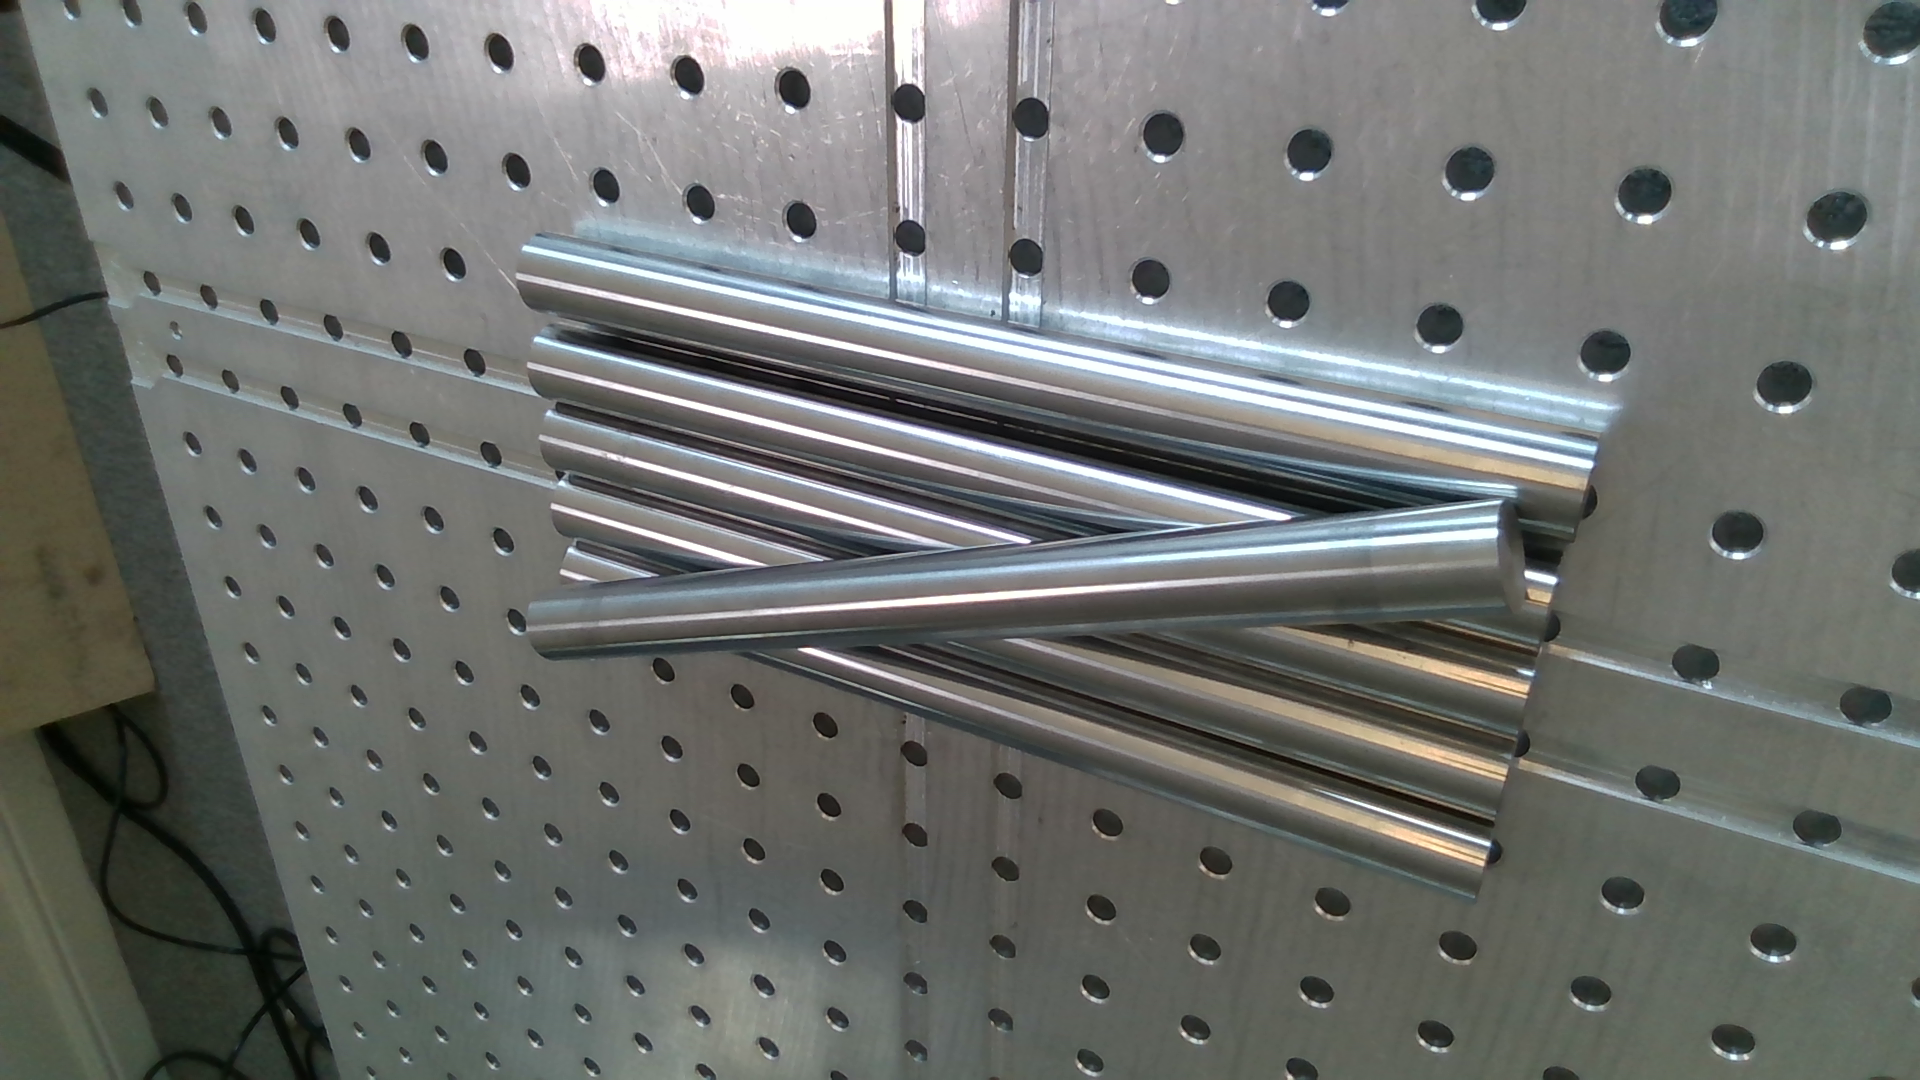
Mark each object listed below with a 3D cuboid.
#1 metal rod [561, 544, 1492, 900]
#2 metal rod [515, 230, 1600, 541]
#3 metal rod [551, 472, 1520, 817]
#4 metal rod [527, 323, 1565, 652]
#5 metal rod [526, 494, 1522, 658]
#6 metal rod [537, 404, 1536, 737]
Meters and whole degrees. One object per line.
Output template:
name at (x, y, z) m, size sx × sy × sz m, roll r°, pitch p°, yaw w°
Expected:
metal rod at (0.003, 0.044, 0.414) m, size 0.300 × 0.025 × 0.025 m, roll 15°, pitch 122°, yaw 24°
metal rod at (0.004, -0.047, 0.362) m, size 0.300 × 0.025 × 0.025 m, roll 15°, pitch 122°, yaw 24°
metal rod at (0.003, 0.021, 0.402) m, size 0.300 × 0.025 × 0.025 m, roll 15°, pitch 122°, yaw 24°
metal rod at (0.003, -0.022, 0.376) m, size 0.300 × 0.025 × 0.025 m, roll 15°, pitch 122°, yaw 24°
metal rod at (-0.009, 0.015, 0.373) m, size 0.300 × 0.025 × 0.025 m, roll -5°, pitch 112°, yaw 34°
metal rod at (0.003, -0.001, 0.388) m, size 0.300 × 0.025 × 0.025 m, roll 15°, pitch 122°, yaw 24°
